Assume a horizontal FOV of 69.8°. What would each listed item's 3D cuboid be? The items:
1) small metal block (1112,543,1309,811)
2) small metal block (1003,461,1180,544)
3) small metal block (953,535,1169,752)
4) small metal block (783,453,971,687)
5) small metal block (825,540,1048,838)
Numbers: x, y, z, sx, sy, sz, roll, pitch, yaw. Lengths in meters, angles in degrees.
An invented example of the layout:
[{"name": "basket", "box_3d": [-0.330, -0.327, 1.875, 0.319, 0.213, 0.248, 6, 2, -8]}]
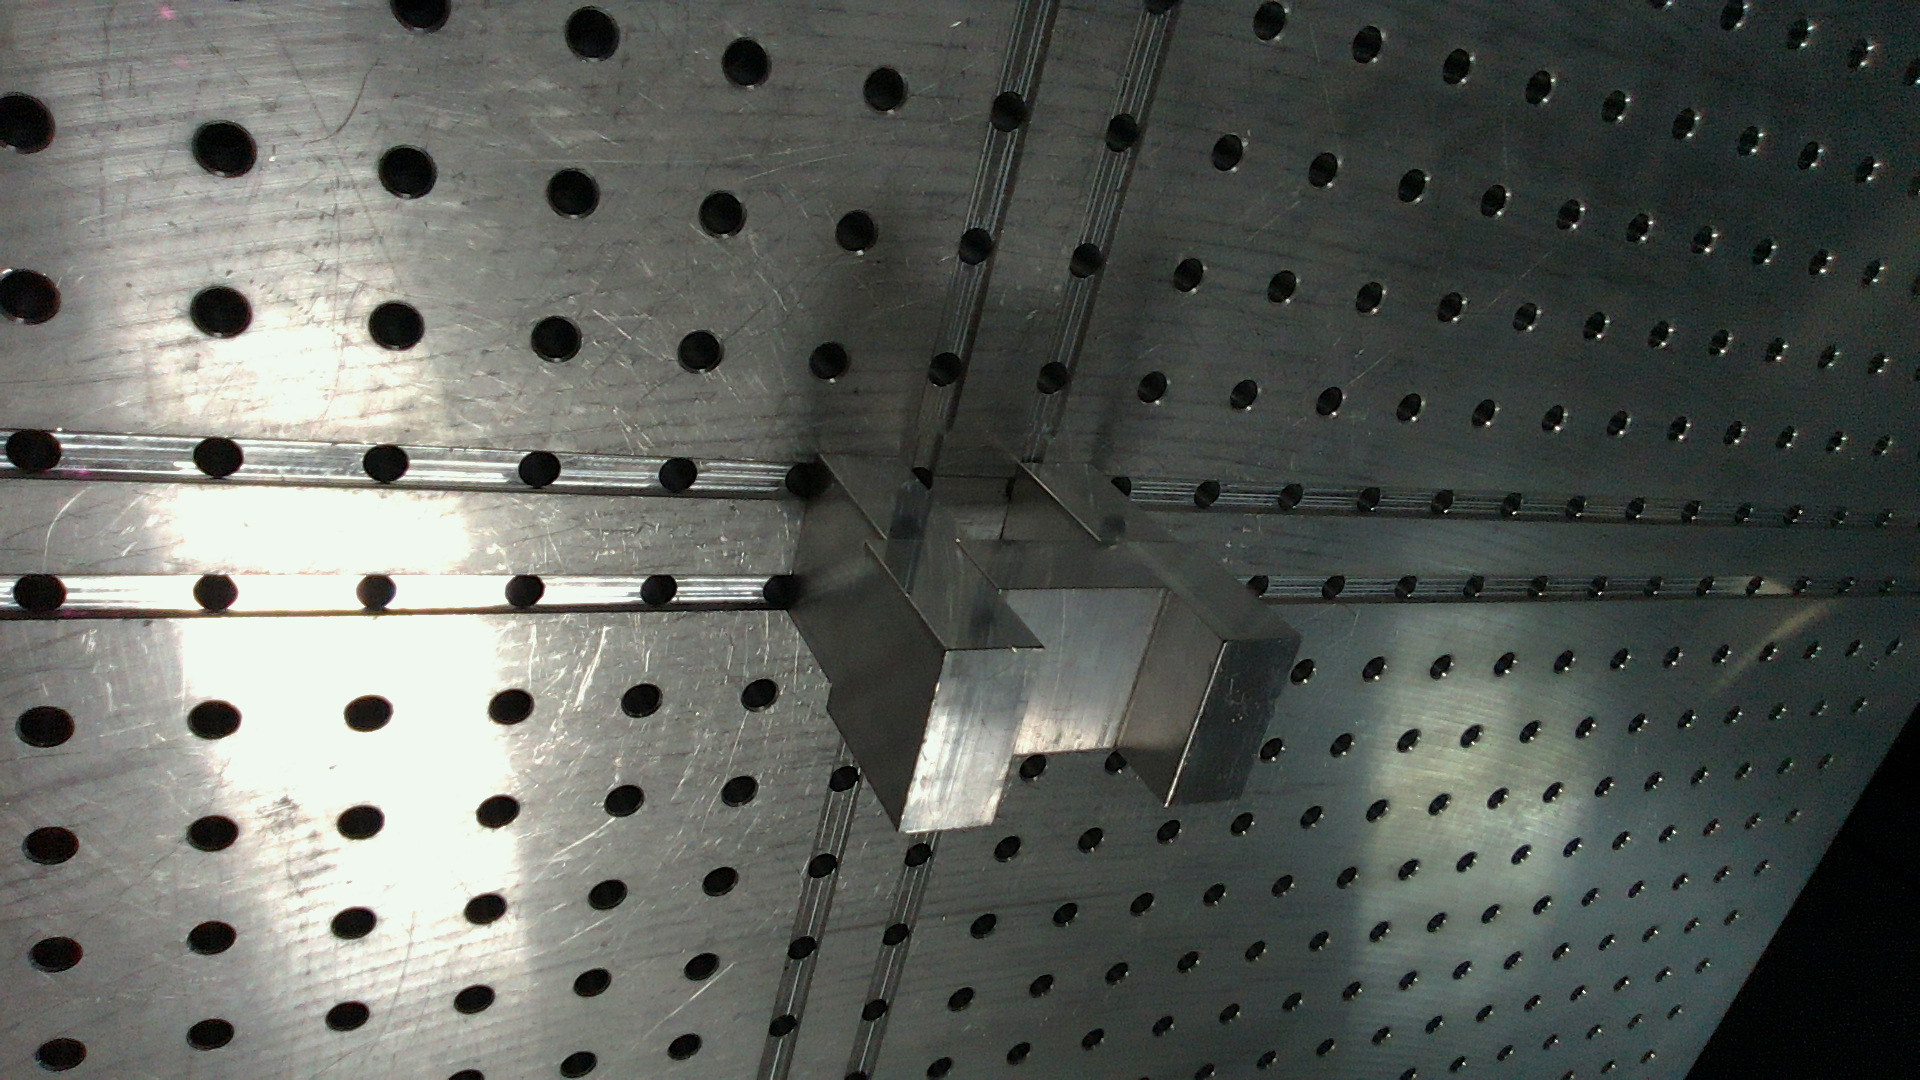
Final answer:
[{"name": "small metal block", "box_3d": [0.059, 0.035, 0.363, 0.025, 0.050, 0.050, 1, 118, -28]}, {"name": "small metal block", "box_3d": [0.033, 0.011, 0.400, 0.025, 0.050, 0.050, -1, 119, -28]}, {"name": "small metal block", "box_3d": [0.020, 0.027, 0.356, 0.050, 0.025, 0.050, 1, 118, -29]}, {"name": "small metal block", "box_3d": [-0.023, 0.010, 0.369, 0.025, 0.050, 0.050, 1, 118, -28]}, {"name": "small metal block", "box_3d": [-0.007, 0.034, 0.327, 0.025, 0.050, 0.050, 1, 118, -28]}]
